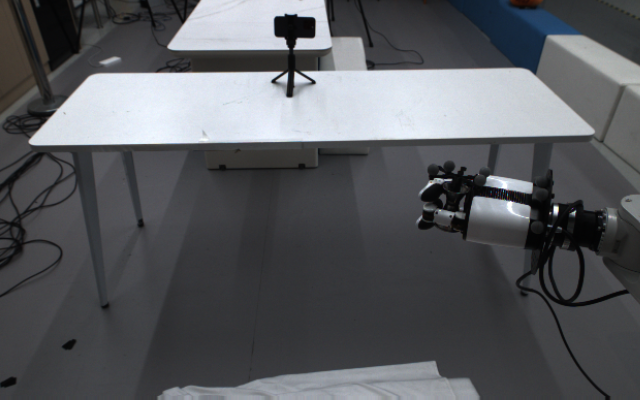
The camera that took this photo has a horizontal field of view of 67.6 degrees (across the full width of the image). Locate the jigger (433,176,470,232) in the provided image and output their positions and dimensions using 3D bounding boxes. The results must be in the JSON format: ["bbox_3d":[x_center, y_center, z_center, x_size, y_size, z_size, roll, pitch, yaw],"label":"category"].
[{"bbox_3d":[0.210,0.009,0.761,0.043,0.071,0.043,3,25,-1],"label":"jigger"}]
